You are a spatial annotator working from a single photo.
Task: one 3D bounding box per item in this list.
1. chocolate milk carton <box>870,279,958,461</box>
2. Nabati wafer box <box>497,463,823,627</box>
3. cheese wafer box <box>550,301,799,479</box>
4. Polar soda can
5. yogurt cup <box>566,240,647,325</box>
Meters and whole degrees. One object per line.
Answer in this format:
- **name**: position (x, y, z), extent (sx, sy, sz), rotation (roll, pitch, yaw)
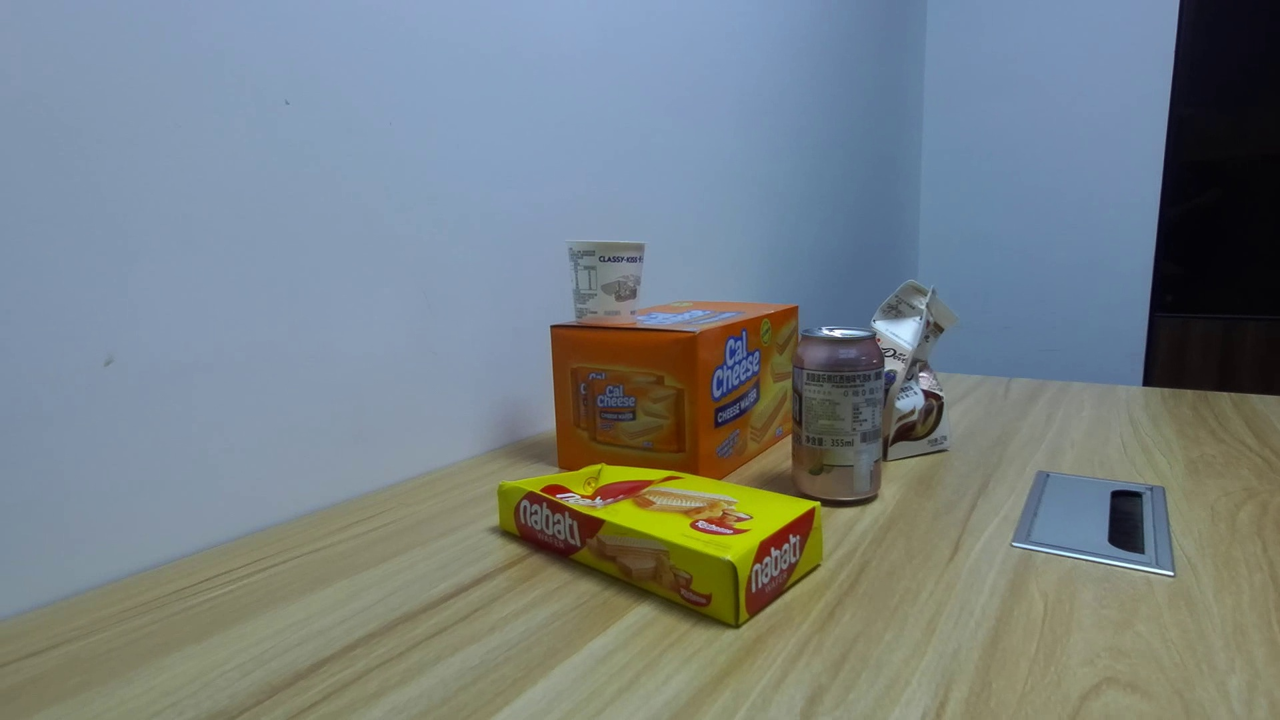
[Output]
- **chocolate milk carton**: position (0.240, 0.010, 0.636), extent (0.090, 0.155, 0.076), rotation (10, 8, -27)
- **Nabati wafer box**: position (0.005, 0.101, 0.448), extent (0.202, 0.042, 0.097), rotation (6, 14, 43)
- **cheese wafer box**: position (0.043, 0.021, 0.657), extent (0.147, 0.129, 0.223), rotation (5, 12, 33)
- **Polar soda can**: position (0.147, 0.040, 0.527), extent (0.067, 0.125, 0.067), rotation (-2, 8, 1)
- **yogurt cup**: position (-0.029, -0.066, 0.602), extent (0.072, 0.068, 0.072), rotation (1, 8, 0)
